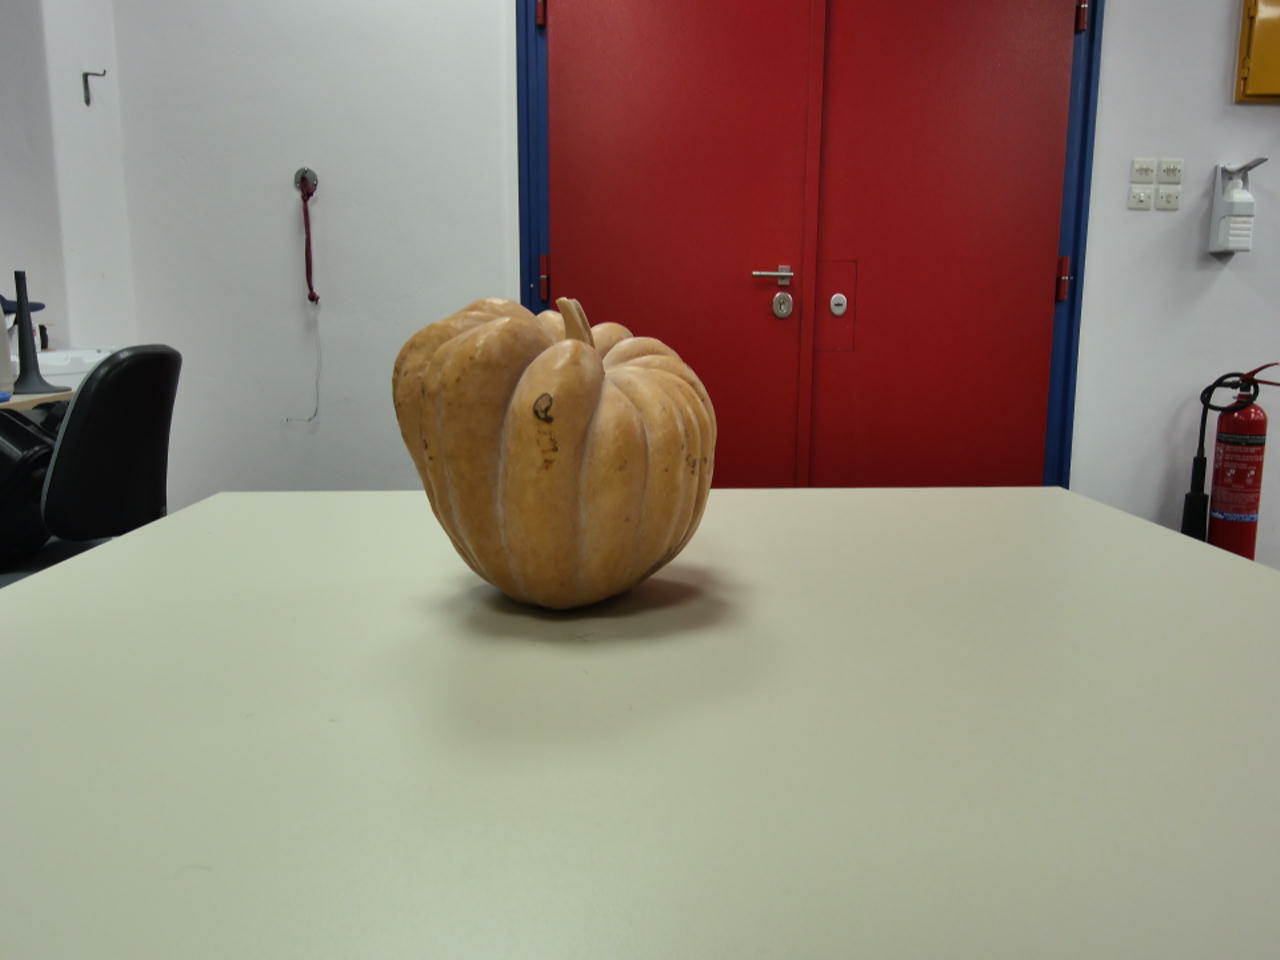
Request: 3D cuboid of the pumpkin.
[{"bbox_3d":[-0.049,-0.018,0.587,0.199,0.177,0.198,1,8,0],"label":"pumpkin"}]
